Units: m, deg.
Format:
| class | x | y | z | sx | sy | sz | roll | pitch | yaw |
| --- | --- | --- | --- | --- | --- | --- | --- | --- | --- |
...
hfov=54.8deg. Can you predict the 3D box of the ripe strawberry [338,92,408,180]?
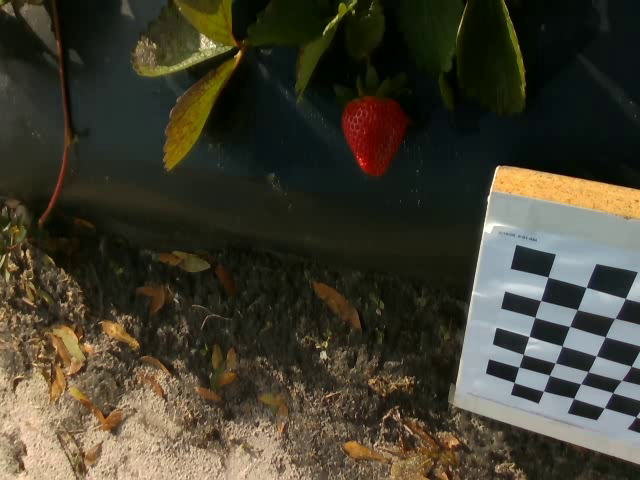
| class | x | y | z | sx | sy | sz | roll | pitch | yaw |
| --- | --- | --- | --- | --- | --- | --- | --- | --- | --- |
| ripe strawberry | 0.026 | -0.054 | 0.311 | 0.041 | 0.047 | 0.041 | 14 | -10 | -41 |
